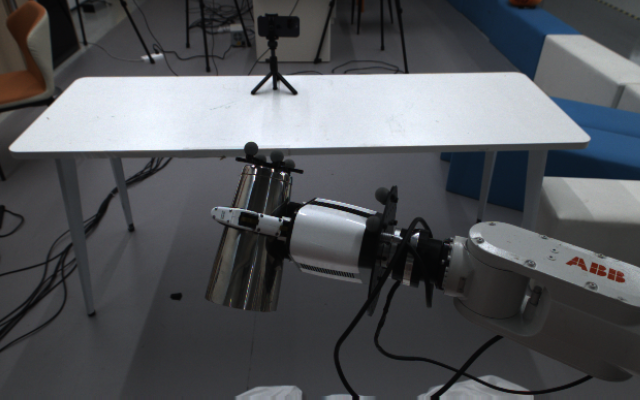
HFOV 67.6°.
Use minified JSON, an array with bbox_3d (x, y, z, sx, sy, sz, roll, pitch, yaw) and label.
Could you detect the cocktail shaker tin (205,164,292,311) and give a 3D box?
[{"bbox_3d":[-0.081,0.047,0.613,0.093,0.170,0.093,11,-5,1],"label":"cocktail shaker tin"}]
